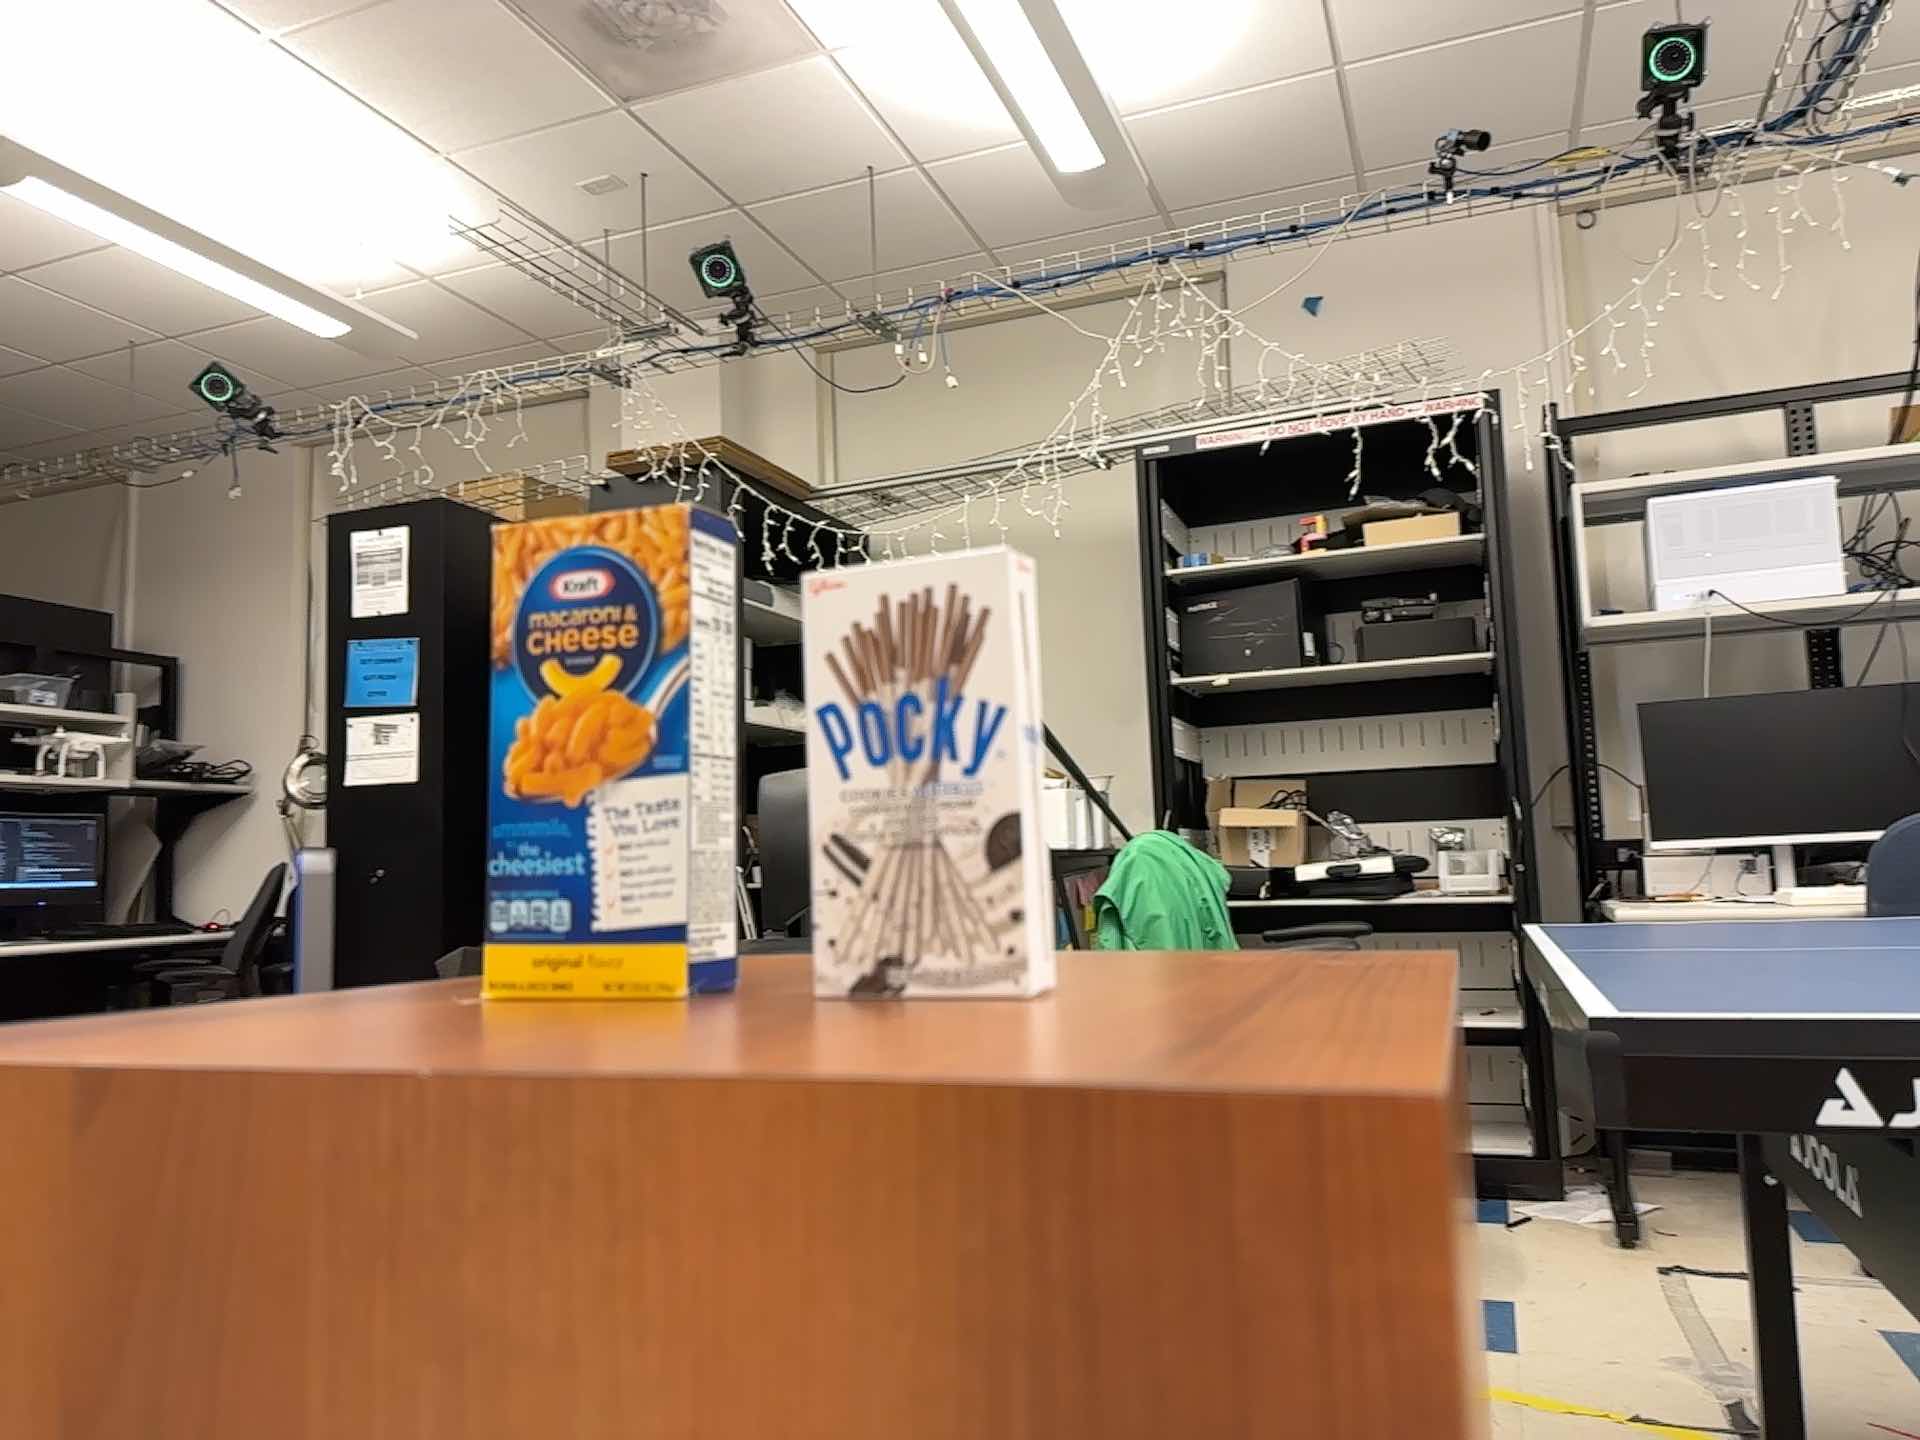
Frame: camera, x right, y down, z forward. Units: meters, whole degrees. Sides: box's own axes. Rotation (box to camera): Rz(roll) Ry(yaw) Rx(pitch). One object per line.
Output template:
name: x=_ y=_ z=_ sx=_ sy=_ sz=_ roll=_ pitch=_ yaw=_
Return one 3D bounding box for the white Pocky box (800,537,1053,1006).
white Pocky box: x=-0.013 y=0.019 z=0.464 sx=0.084 sy=0.154 sz=0.028 roll=-6 pitch=-9 yaw=27

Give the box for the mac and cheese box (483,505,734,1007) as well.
mac and cheese box: x=-0.135 y=0.016 z=0.520 sx=0.088 sy=0.181 sz=0.035 roll=-6 pitch=-10 yaw=24
